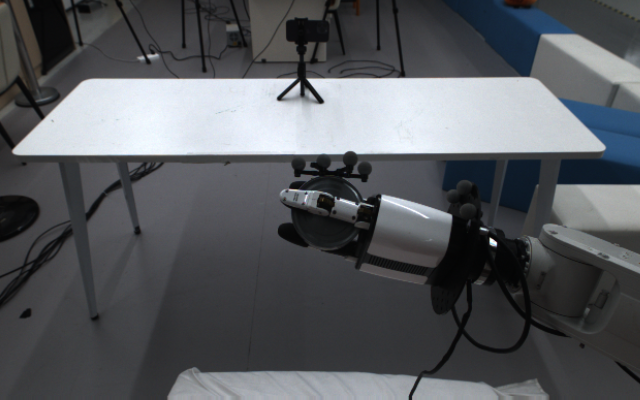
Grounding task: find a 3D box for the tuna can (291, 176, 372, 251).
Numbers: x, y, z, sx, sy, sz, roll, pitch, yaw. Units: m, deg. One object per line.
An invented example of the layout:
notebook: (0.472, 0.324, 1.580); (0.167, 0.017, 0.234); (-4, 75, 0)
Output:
tuna can: (0.012, 0.020, 0.568); (0.085, 0.034, 0.085); (0, 78, 0)
